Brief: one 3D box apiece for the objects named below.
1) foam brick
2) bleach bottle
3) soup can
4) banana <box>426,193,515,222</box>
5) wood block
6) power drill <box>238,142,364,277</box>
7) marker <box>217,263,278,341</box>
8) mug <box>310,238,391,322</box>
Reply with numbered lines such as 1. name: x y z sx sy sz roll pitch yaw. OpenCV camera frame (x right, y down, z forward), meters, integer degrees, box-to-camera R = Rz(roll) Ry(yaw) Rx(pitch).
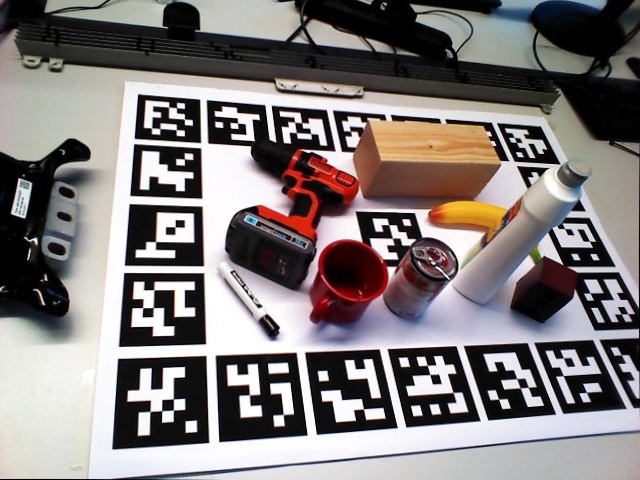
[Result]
1. foam brick: 0.329 0.076 0.736 0.053 0.078 0.051 27 50 8
2. bleach bottle: 0.266 -0.013 0.673 0.068 0.252 0.102 24 51 4
3. soup can: 0.135 0.049 0.679 0.068 0.102 0.067 9 49 -10
4. banana: 0.264 -0.037 0.821 0.197 0.039 0.074 15 66 -7
5. wood block: 0.179 -0.124 0.833 0.206 0.091 0.089 0 56 -15
6. power drill: -0.042 -0.050 0.747 0.185 0.058 0.185 26 51 1
7. marker: -0.092 0.079 0.660 0.019 0.020 0.121 -28 67 -28
8. mug: 0.027 0.059 0.662 0.093 0.082 0.116 37 57 10
